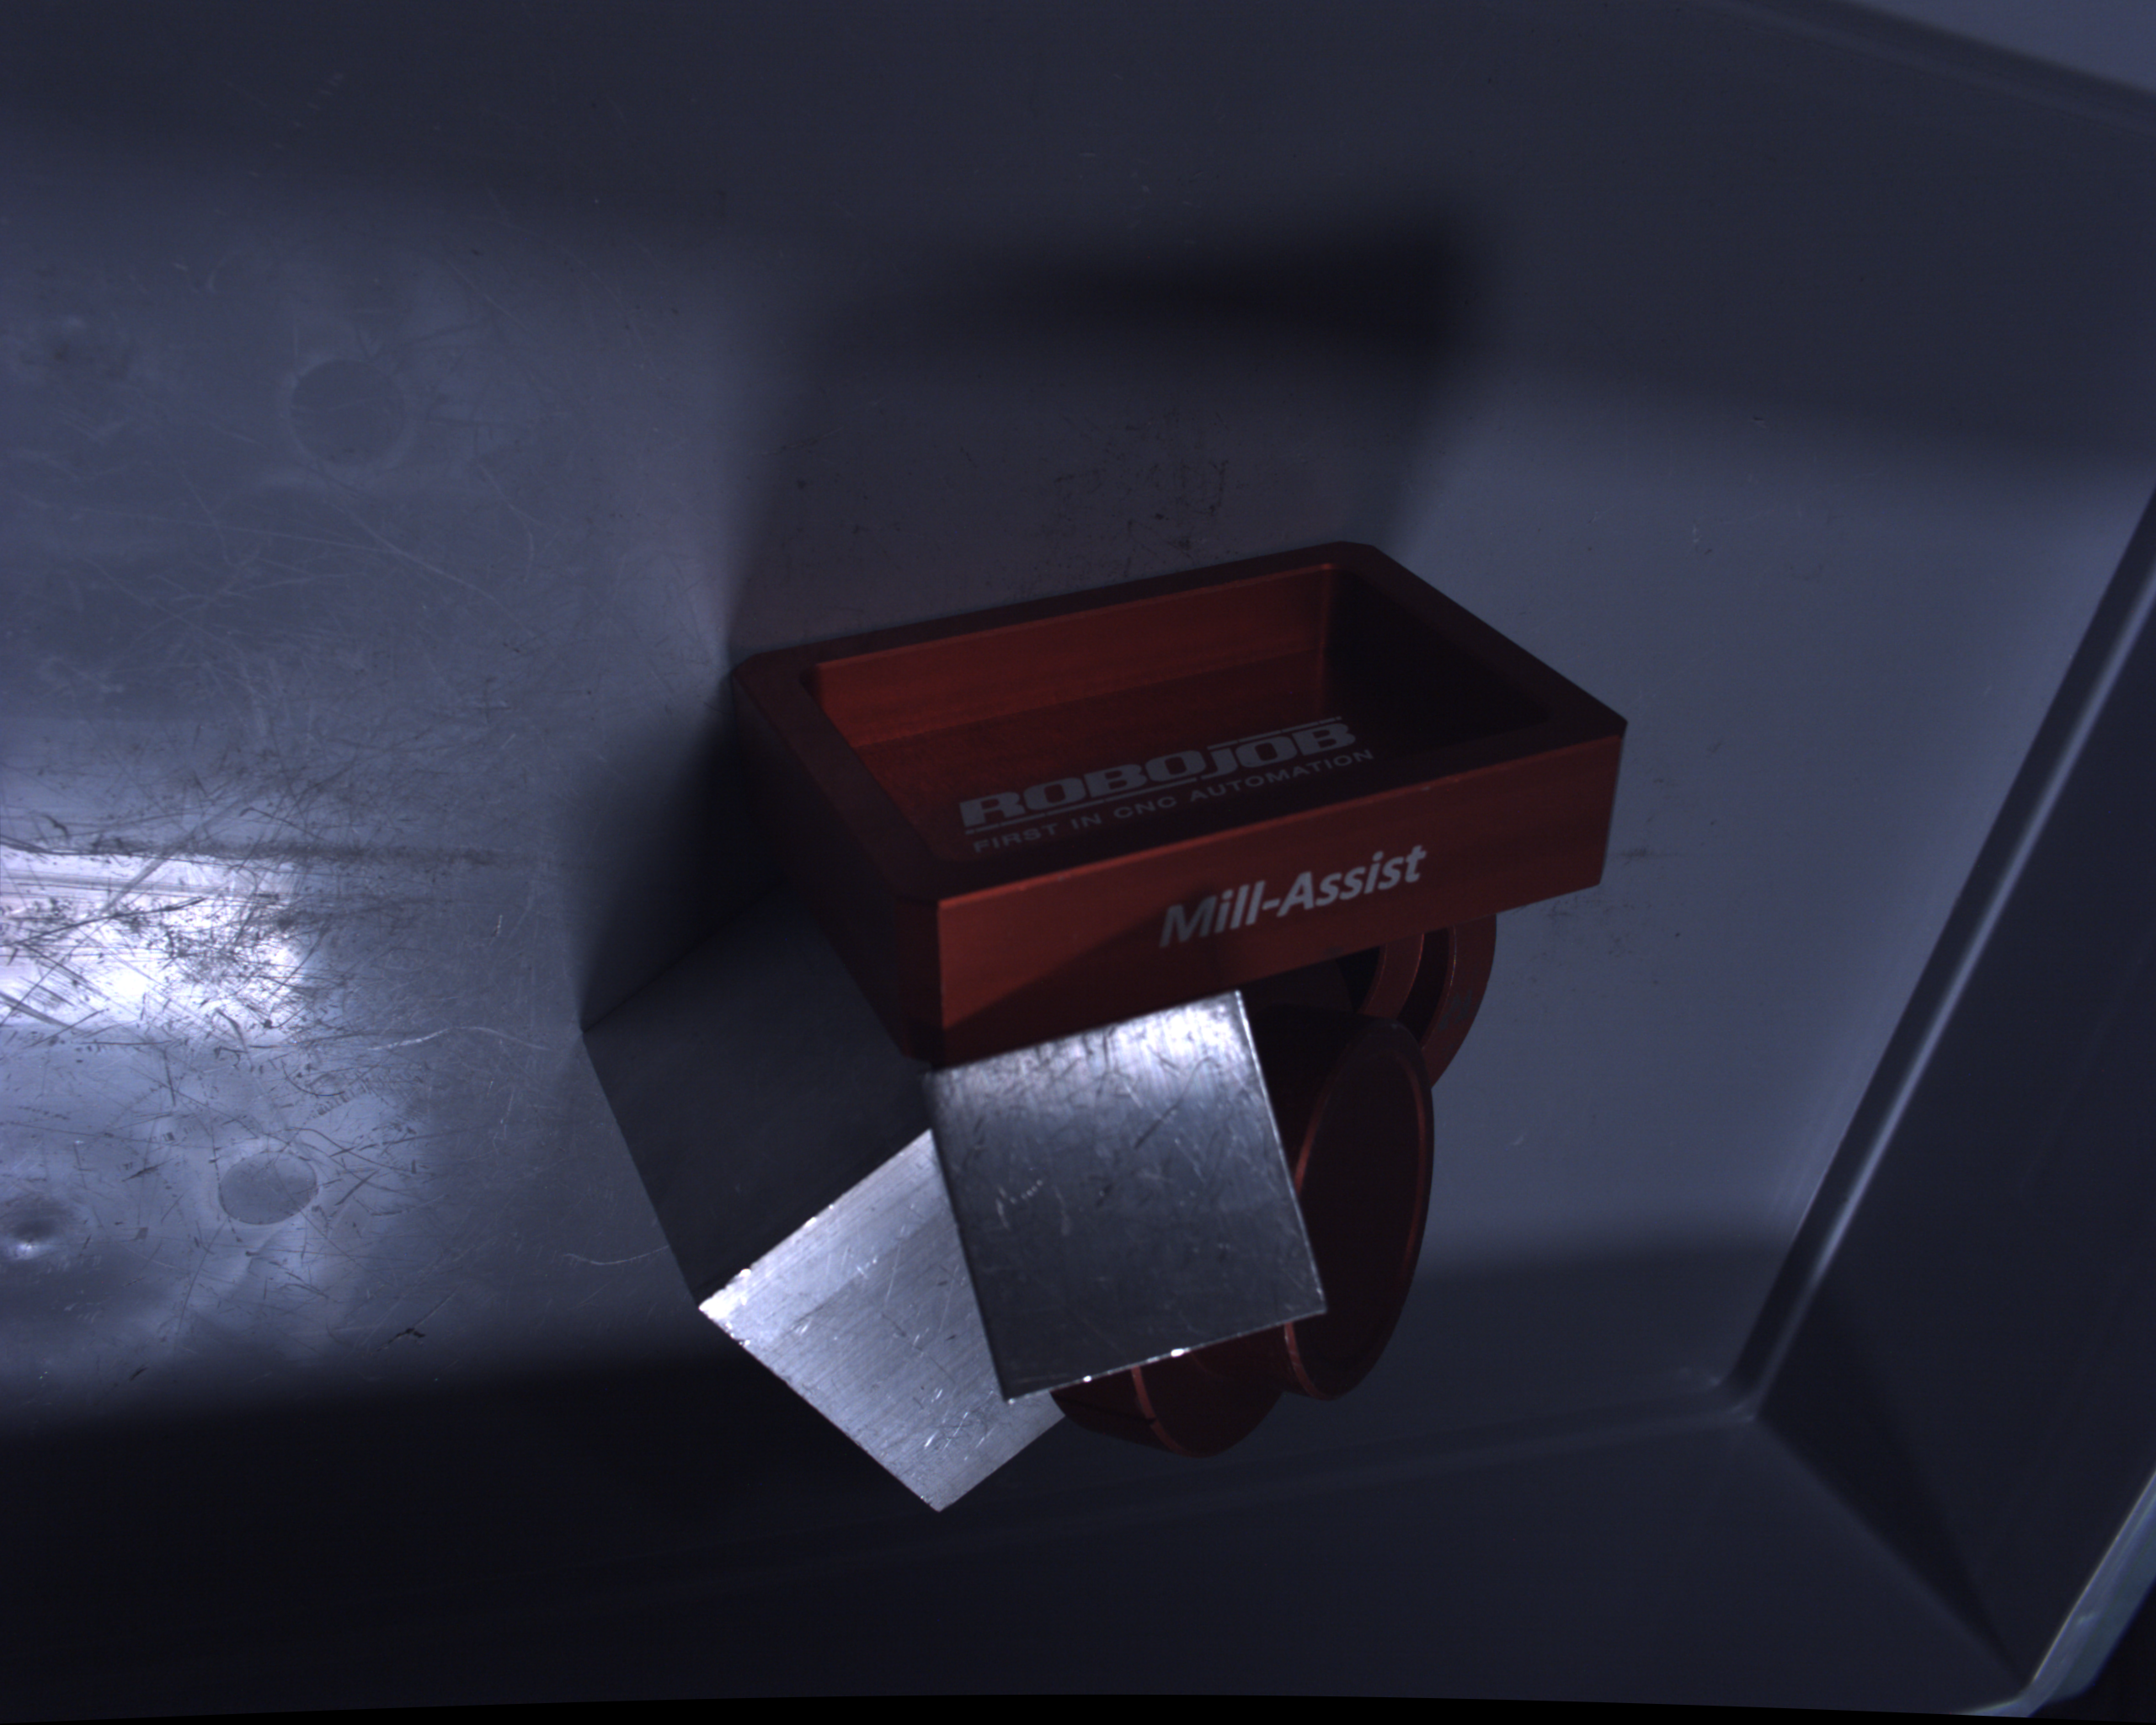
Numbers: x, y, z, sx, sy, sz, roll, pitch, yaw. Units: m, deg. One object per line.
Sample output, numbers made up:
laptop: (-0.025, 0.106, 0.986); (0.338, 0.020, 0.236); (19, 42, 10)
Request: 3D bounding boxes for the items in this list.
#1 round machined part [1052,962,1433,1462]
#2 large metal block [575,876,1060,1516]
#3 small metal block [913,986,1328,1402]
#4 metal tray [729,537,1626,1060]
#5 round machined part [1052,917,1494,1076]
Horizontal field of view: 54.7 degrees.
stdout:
round machined part: (0.033, 0.059, 0.377); (0.099, 0.042, 0.097); (-21, 114, -59)
large metal block: (-0.040, 0.060, 0.388); (0.050, 0.080, 0.080); (-38, 130, -3)
small metal block: (0.006, 0.050, 0.322); (0.050, 0.025, 0.050); (-15, 87, -5)
metal tray: (0.016, -0.017, 0.364); (0.131, 0.090, 0.030); (-14, 125, -21)
round machined part: (0.033, 0.018, 0.428); (0.099, 0.042, 0.097); (-14, 125, -21)
